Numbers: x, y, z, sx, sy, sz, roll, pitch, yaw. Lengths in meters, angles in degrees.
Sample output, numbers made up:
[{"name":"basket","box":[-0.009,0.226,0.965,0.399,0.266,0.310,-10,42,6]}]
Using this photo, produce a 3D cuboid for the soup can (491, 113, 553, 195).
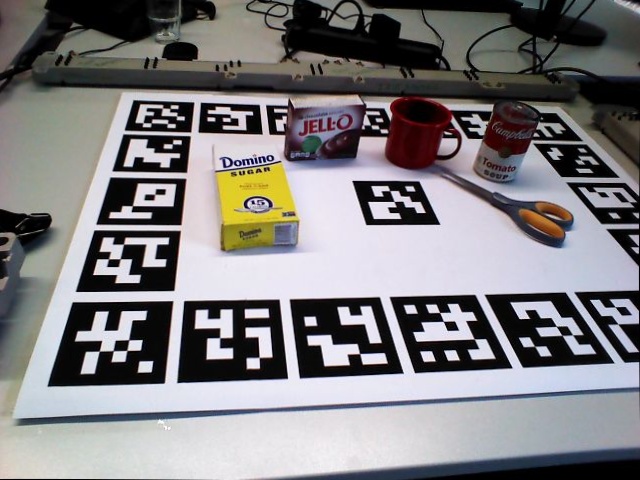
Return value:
[{"name":"soup can","box":[0.301,-0.126,0.766,0.068,0.102,0.067,3,42,-3]}]

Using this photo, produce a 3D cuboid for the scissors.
[{"name":"scissors","box":[0.285,-0.036,0.717,0.203,0.016,0.087,35,59,26]}]

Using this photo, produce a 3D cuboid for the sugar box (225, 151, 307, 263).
[{"name":"sugar box","box":[-0.073,-0.049,0.668,0.093,0.045,0.175,-3,45,-9]}]

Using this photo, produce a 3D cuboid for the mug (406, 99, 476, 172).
[{"name":"mug","box":[0.182,-0.151,0.781,0.093,0.082,0.117,-30,53,-31]}]

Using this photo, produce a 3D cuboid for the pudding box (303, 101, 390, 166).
[{"name":"pudding box","box":[0.035,-0.157,0.755,0.113,0.090,0.038,-6,51,-15]}]
